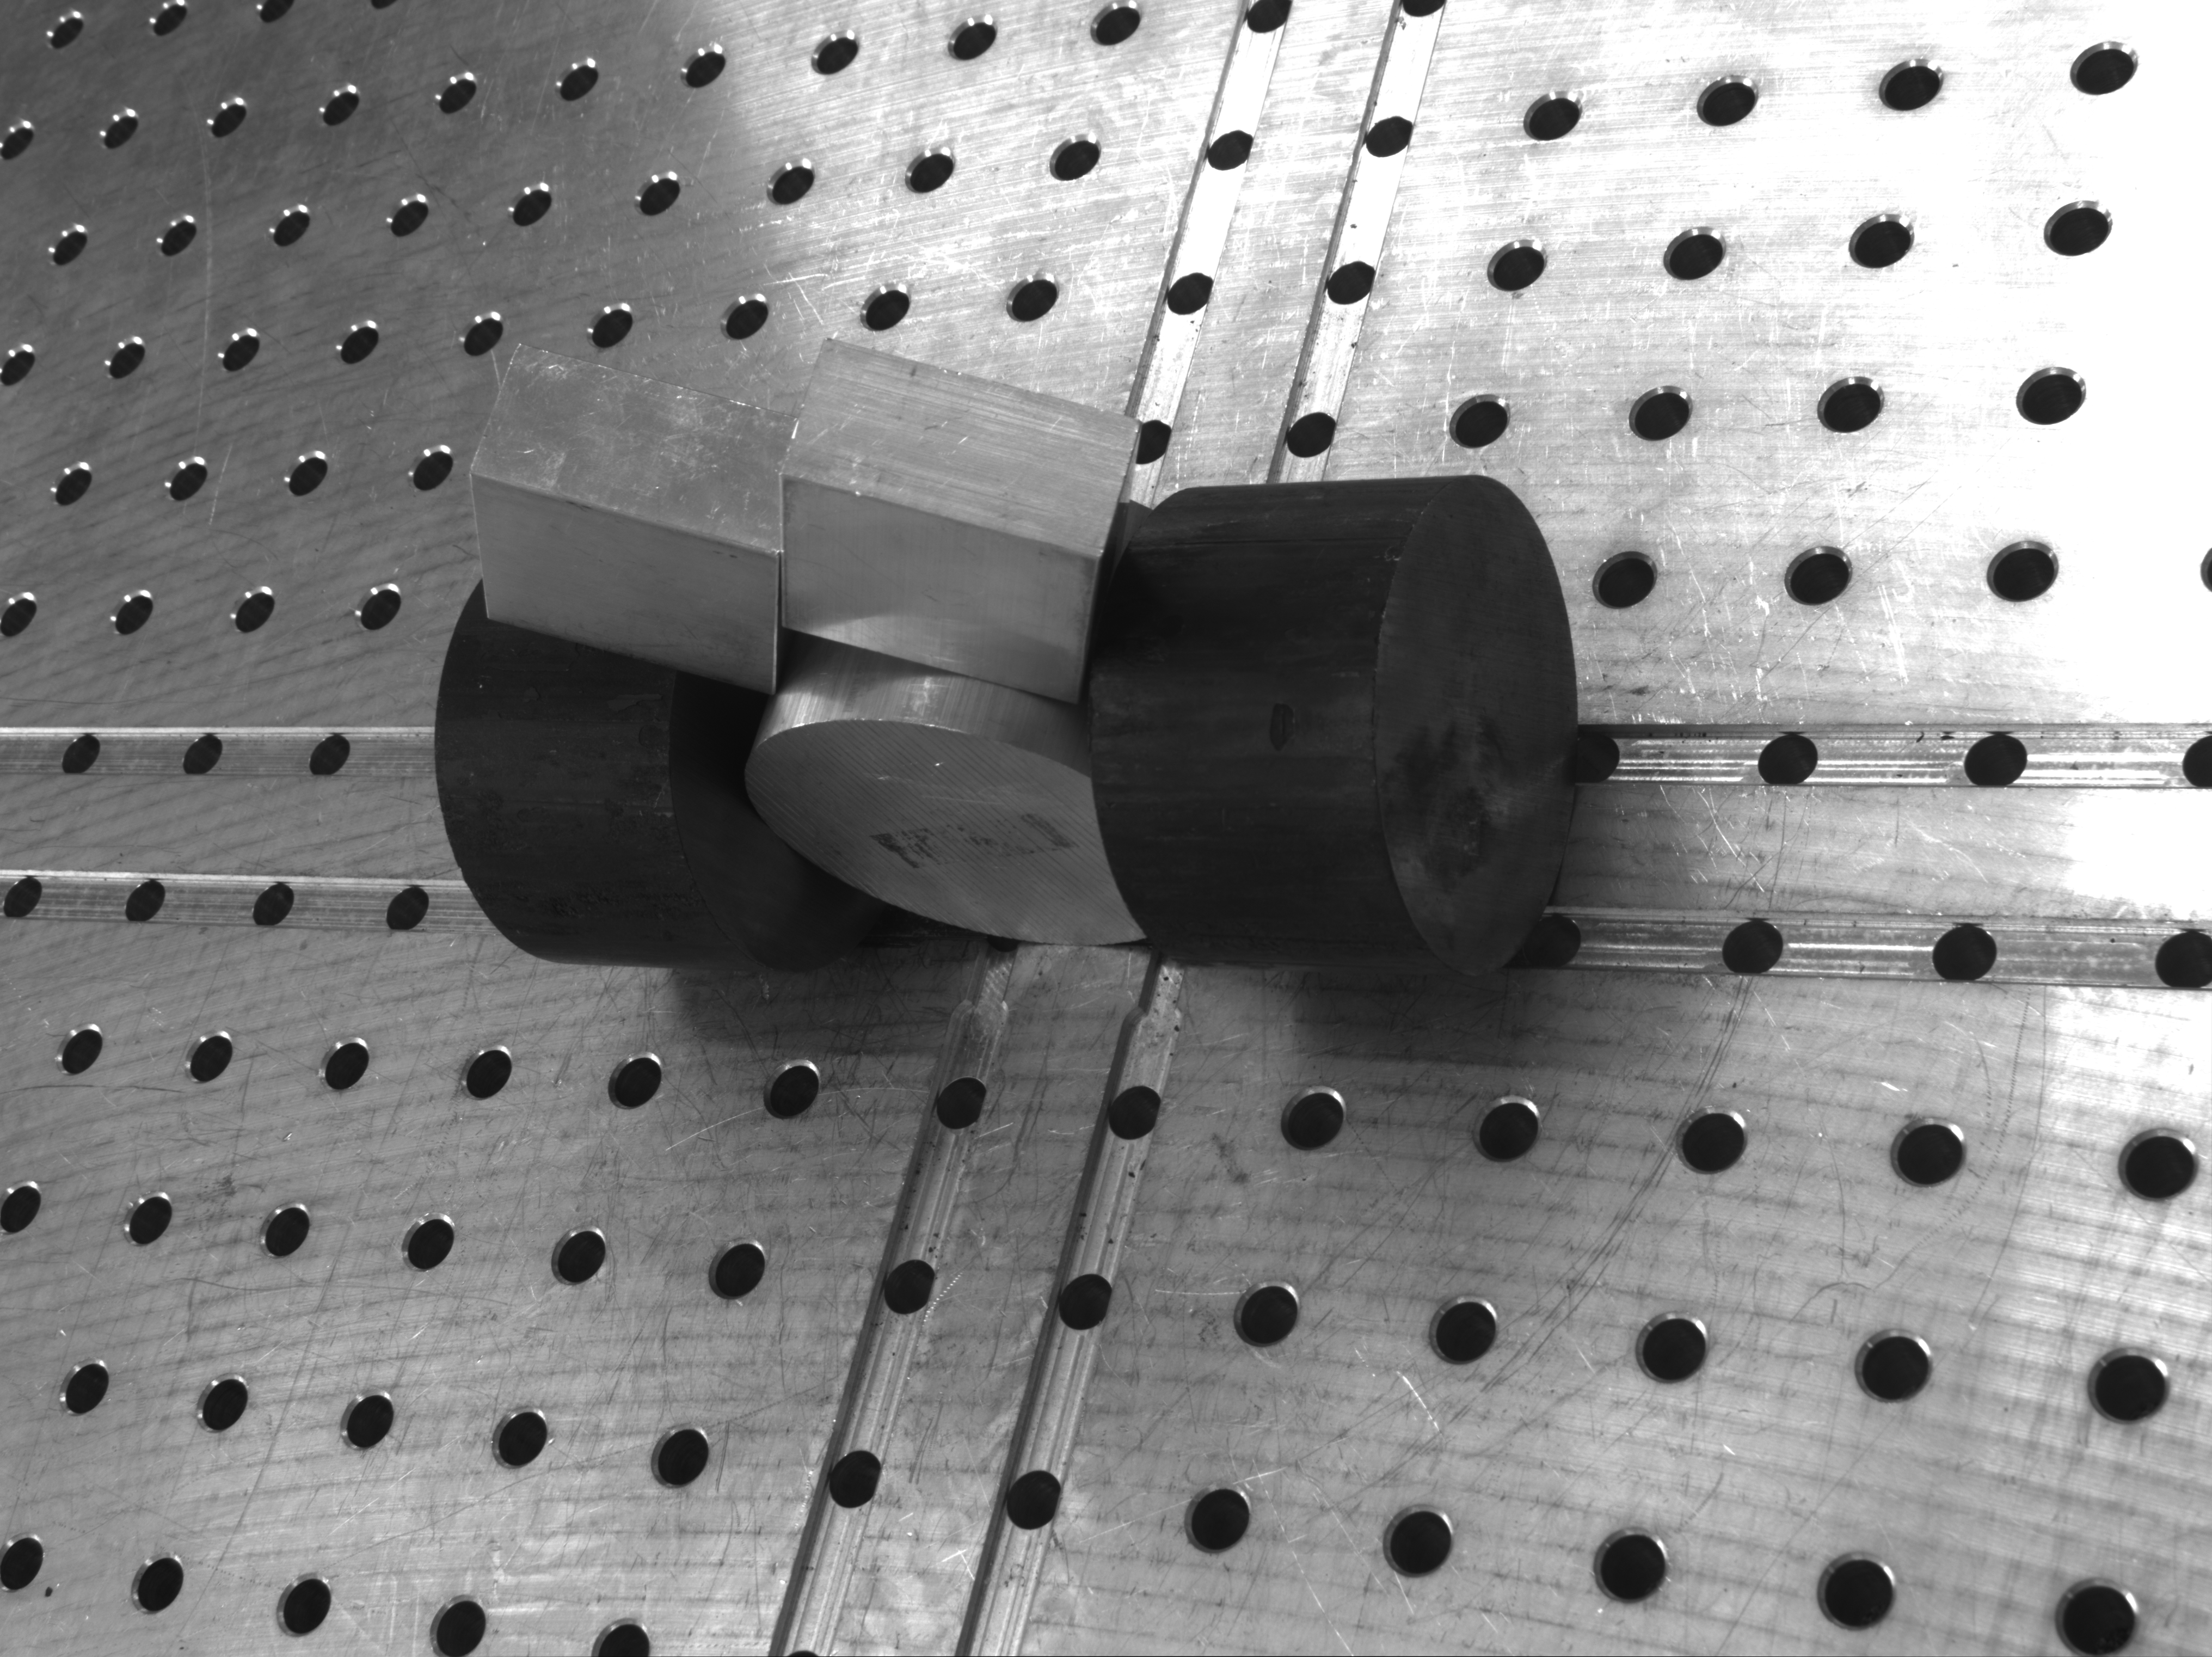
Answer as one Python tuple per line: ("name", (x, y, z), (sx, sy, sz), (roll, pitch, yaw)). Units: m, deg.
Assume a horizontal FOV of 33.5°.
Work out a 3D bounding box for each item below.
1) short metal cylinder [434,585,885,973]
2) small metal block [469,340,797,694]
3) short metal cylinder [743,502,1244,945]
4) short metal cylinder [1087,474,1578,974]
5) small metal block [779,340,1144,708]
("short metal cylinder", (-0.076, -0.015, 0.663), (0.050, 0.080, 0.080), (1, 62, 29))
("small metal block", (-0.074, -0.050, 0.598), (0.050, 0.050, 0.025), (15, 66, 1))
("short metal cylinder", (-0.017, -0.020, 0.635), (0.080, 0.080, 0.050), (1, 62, 29))
("short metal cylinder", (0.039, -0.017, 0.601), (0.050, 0.080, 0.080), (0, 62, 30))
("small metal block", (-0.023, -0.047, 0.575), (0.050, 0.050, 0.025), (15, 66, 1))
